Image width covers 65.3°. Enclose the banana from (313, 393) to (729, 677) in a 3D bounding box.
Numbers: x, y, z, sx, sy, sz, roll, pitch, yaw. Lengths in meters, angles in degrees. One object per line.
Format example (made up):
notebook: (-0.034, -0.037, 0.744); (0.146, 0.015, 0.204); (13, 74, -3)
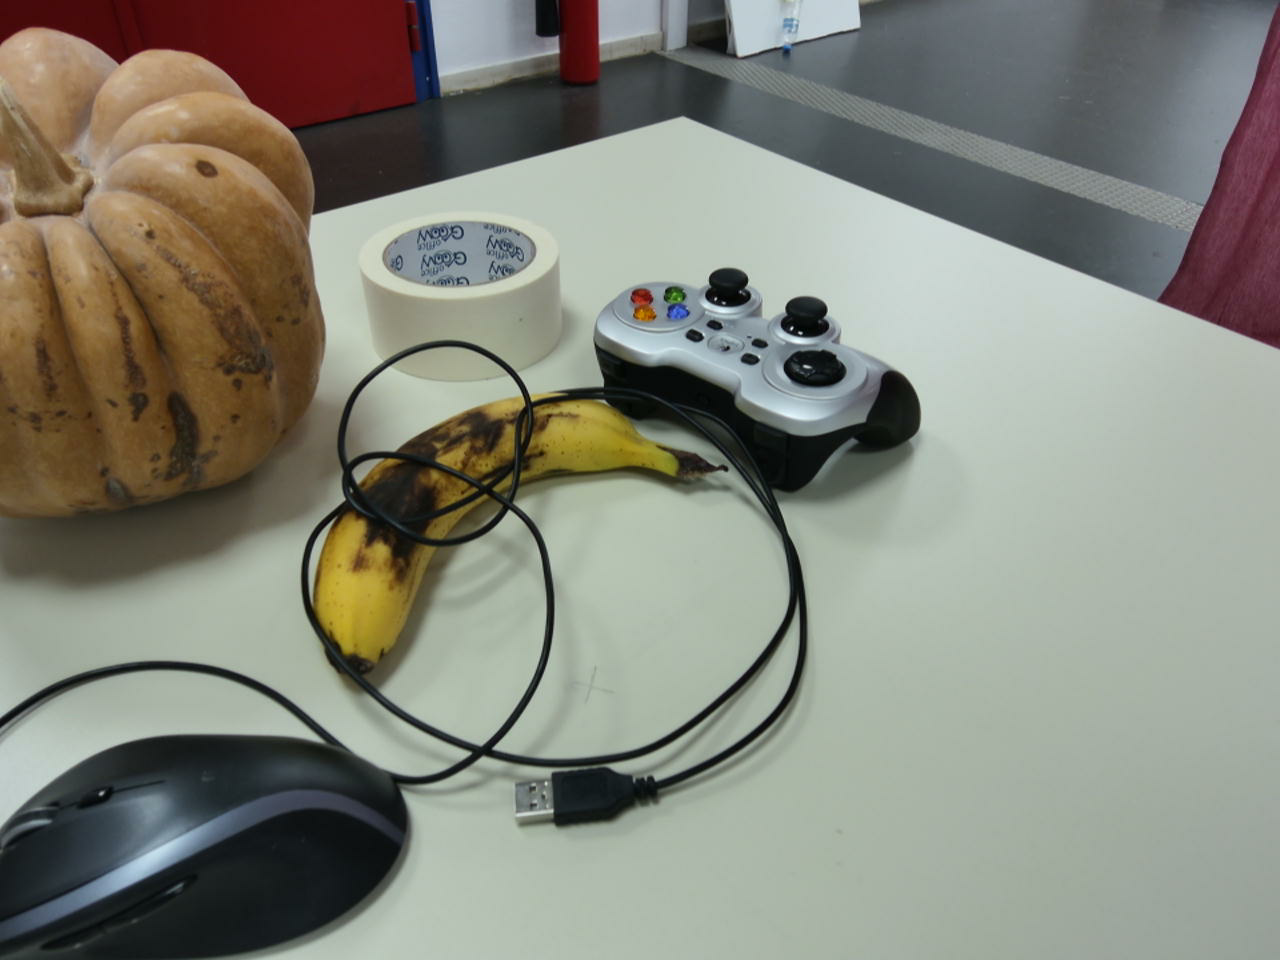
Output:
banana: (-0.063, 0.006, 0.419); (0.187, 0.039, 0.094); (-28, 45, -33)
